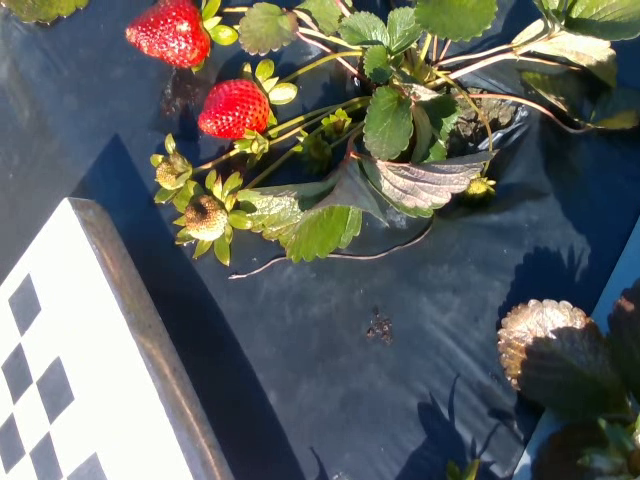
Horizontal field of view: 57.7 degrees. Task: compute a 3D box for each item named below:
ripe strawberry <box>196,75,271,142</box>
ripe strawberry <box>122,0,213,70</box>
[{"bbox_3d":[-0.050,-0.068,0.312,0.042,0.039,0.049,9,31,37],"label":"ripe strawberry"},{"bbox_3d":[-0.092,-0.123,0.337,0.050,0.051,0.044,-10,-14,-34],"label":"ripe strawberry"}]
